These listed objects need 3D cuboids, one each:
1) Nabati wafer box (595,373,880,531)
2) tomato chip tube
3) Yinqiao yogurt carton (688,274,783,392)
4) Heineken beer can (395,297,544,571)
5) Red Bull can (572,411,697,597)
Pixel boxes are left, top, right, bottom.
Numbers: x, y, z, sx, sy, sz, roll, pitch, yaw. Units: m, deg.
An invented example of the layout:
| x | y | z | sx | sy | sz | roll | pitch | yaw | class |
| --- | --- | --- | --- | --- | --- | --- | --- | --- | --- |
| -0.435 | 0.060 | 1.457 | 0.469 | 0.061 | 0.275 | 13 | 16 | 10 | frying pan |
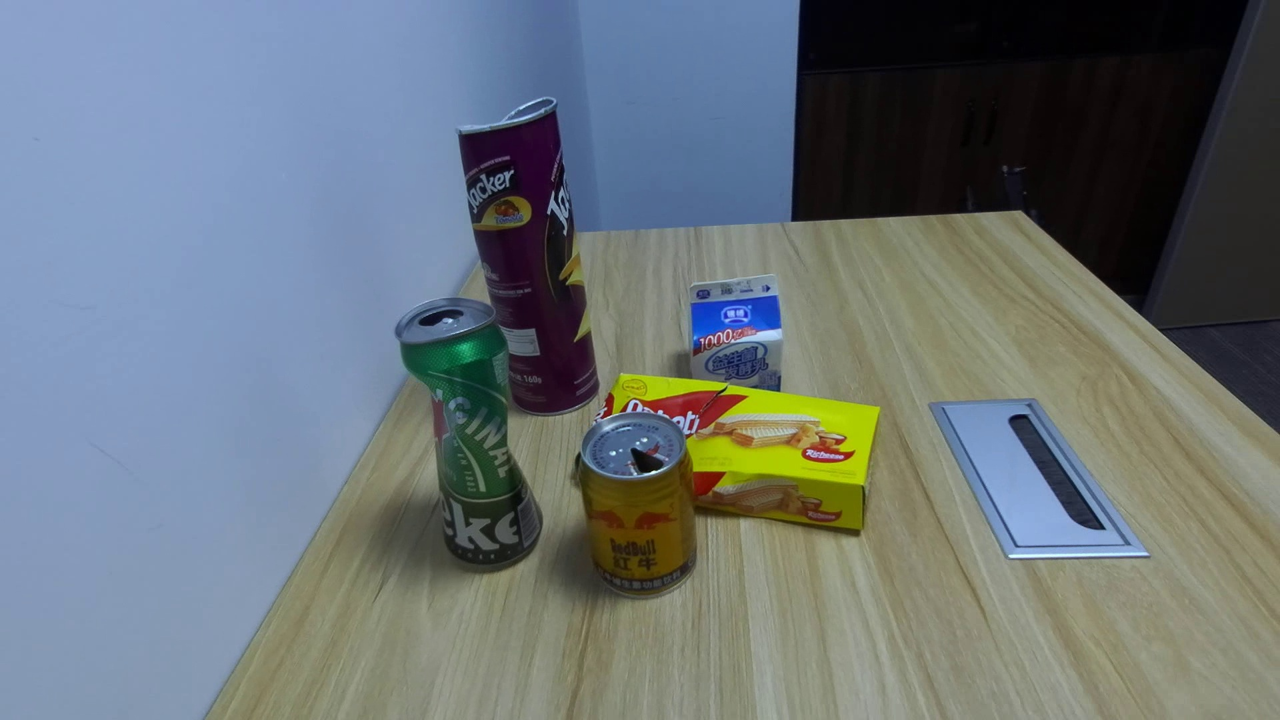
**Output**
| x | y | z | sx | sy | sz | roll | pitch | yaw | class |
| --- | --- | --- | --- | --- | --- | --- | --- | --- | --- |
| 0.057 | 0.061 | 0.495 | 0.203 | 0.042 | 0.107 | 7 | 32 | 19 | Nabati wafer box |
| -0.083 | -0.073 | 0.551 | 0.078 | 0.235 | 0.076 | -13 | 32 | -10 | tomato chip tube |
| 0.077 | -0.026 | 0.583 | 0.075 | 0.092 | 0.073 | -4 | 32 | 5 | Yinqiao yogurt carton |
| -0.101 | 0.049 | 0.427 | 0.066 | 0.164 | 0.077 | 1 | 27 | 11 | Heineken beer can |
| 0.000 | 0.084 | 0.417 | 0.067 | 0.093 | 0.067 | -3 | 31 | 2 | Red Bull can |
